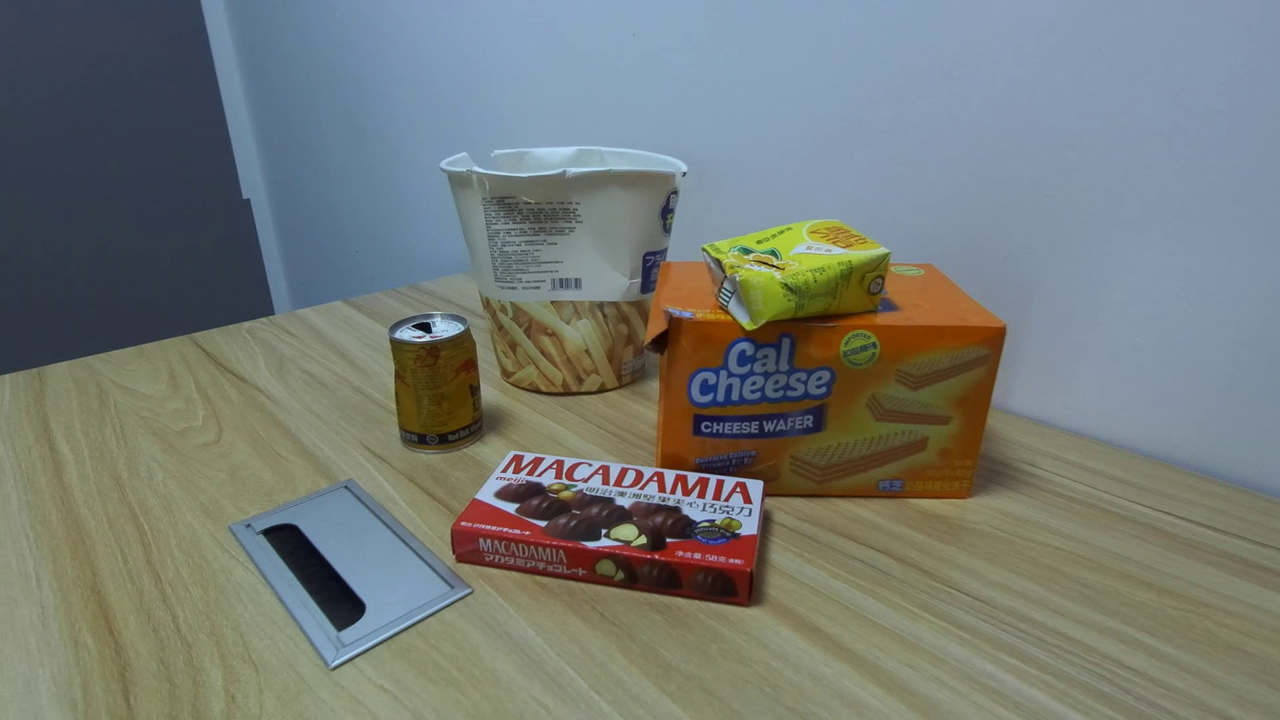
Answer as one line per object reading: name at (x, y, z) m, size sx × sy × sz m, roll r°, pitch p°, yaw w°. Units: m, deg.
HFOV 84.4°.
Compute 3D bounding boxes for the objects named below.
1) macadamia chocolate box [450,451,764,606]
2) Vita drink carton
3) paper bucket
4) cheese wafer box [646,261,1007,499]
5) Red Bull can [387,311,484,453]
macadamia chocolate box at (-0.015, 0.099, 0.440) m, size 0.177 × 0.027 × 0.096 m, roll 5°, pitch 23°, yaw 12°
Vita drink carton at (0.099, -0.055, 0.458) m, size 0.108 × 0.042 × 0.086 m, roll -11°, pitch 33°, yaw -17°
paper bucket at (-0.068, -0.088, 0.653) m, size 0.203 × 0.197 × 0.145 m, roll -4°, pitch 23°, yaw -10°
cheese wafer box at (0.120, 0.006, 0.522) m, size 0.227 × 0.137 × 0.149 m, roll 0°, pitch 24°, yaw 1°
Red Bull can at (-0.159, 0.017, 0.550) m, size 0.068 × 0.093 × 0.068 m, roll 0°, pitch 22°, yaw 0°
